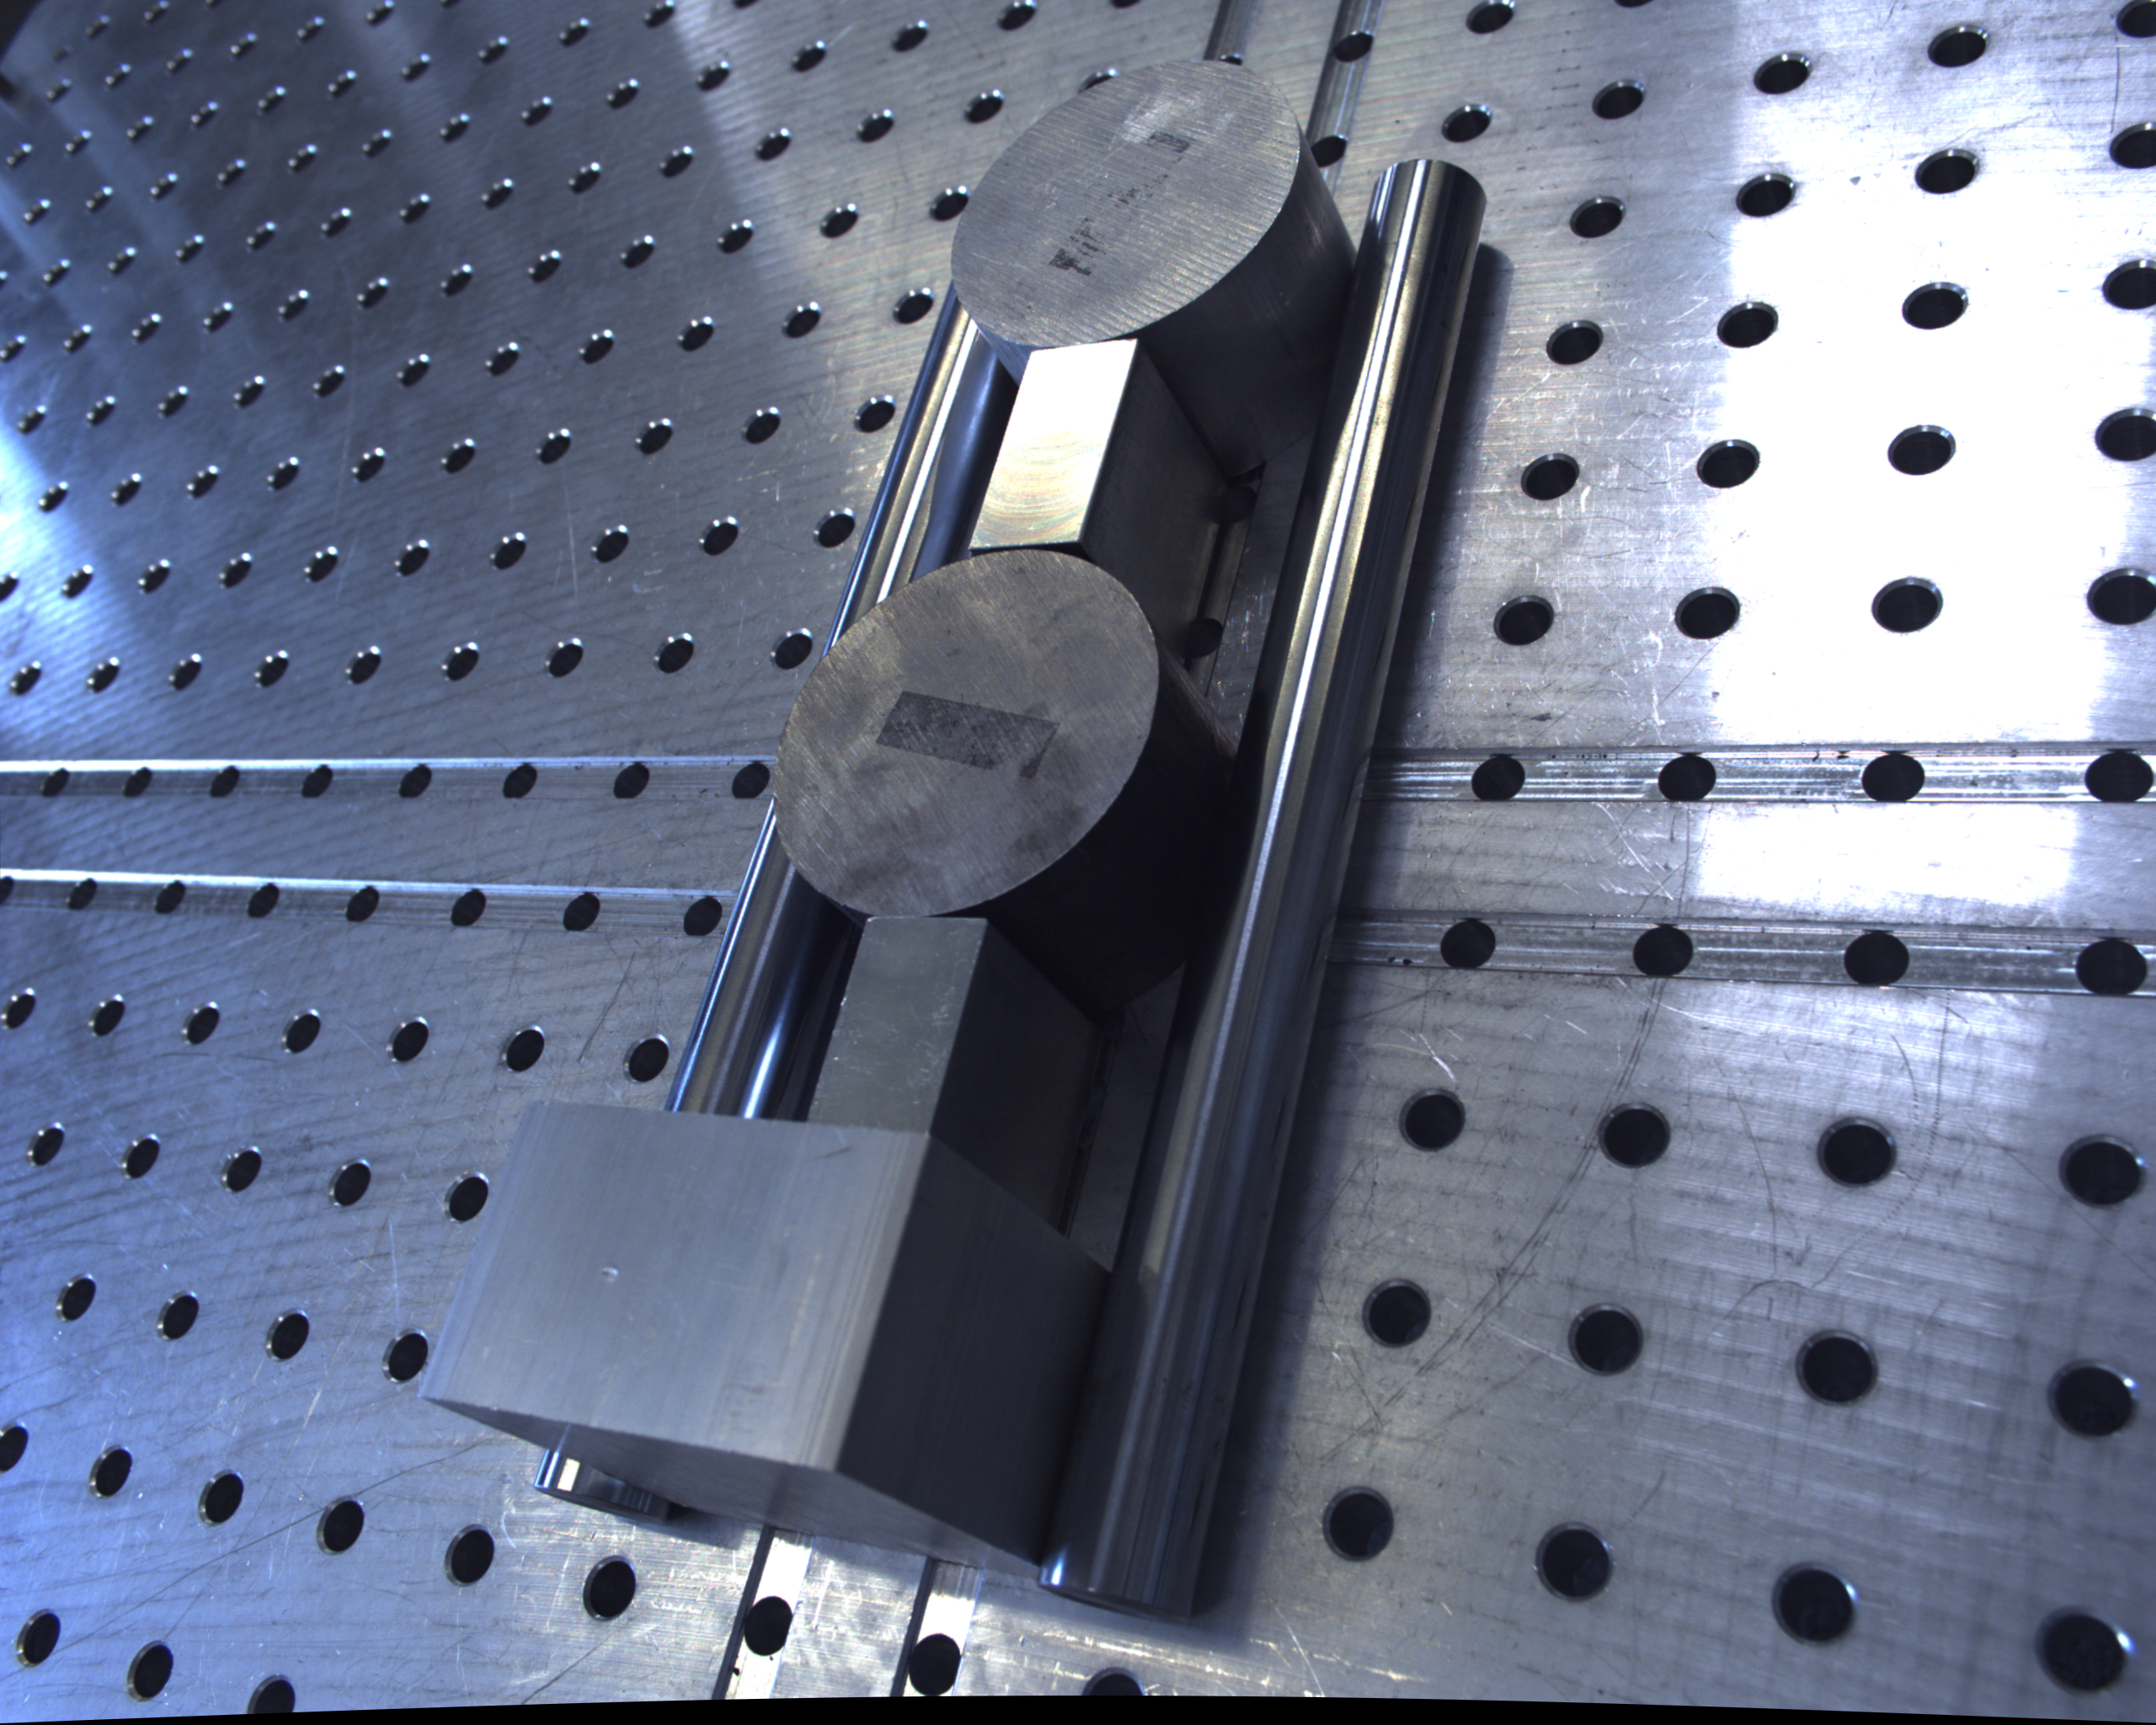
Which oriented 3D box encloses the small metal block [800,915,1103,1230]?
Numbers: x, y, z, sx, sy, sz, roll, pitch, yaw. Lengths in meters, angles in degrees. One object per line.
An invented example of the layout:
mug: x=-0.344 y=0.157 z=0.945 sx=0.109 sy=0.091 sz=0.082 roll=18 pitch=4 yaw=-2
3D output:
small metal block: x=-0.022 y=0.043 z=0.377 sx=0.025 sy=0.050 sz=0.050 roll=0 pitch=62 yaw=28

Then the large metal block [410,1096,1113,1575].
large metal block: x=-0.046 y=0.080 z=0.348 sx=0.080 sy=0.080 sz=0.050 roll=1 pitch=62 yaw=28

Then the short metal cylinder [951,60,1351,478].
short metal cylinder: x=0.019 y=-0.129 z=0.461 sx=0.080 sy=0.050 sz=0.080 roll=-13 pitch=56 yaw=21

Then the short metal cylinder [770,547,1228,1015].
short metal cylinder: x=-0.012 y=-0.014 z=0.407 sx=0.080 sy=0.050 sz=0.080 roll=-13 pitch=56 yaw=21

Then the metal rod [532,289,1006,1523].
metal rod: x=-0.052 y=-0.014 z=0.443 sx=0.025 sy=0.025 sz=0.300 roll=1 pitch=62 yaw=29

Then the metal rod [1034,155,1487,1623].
metal rod: x=0.041 y=-0.014 z=0.394 sx=0.025 sy=0.025 sz=0.300 roll=1 pitch=62 yaw=29

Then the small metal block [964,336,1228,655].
small metal block: x=0.005 y=-0.072 z=0.432 sx=0.025 sy=0.050 sz=0.050 roll=1 pitch=62 yaw=29
